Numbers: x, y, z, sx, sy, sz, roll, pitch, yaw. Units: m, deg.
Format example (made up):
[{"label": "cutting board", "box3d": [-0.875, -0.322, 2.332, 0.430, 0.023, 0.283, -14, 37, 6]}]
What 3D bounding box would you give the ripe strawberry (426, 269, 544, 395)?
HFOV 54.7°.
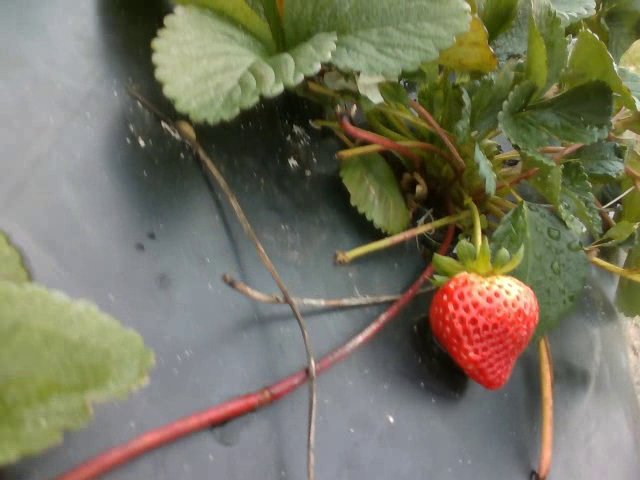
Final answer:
[{"label": "ripe strawberry", "box3d": [0.079, 0.041, 0.277, 0.049, 0.065, 0.061, 1, 2, 32]}]
